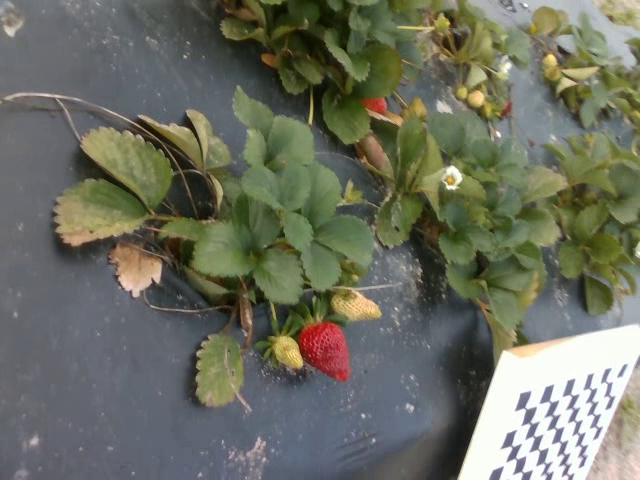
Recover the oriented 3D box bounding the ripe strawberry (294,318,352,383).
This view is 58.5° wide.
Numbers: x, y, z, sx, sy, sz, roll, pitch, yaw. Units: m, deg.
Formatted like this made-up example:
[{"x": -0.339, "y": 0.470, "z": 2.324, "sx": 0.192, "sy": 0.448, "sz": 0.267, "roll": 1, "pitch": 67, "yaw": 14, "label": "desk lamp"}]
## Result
[{"x": 0.007, "y": 0.095, "z": 0.452, "sx": 0.046, "sy": 0.046, "sz": 0.059, "roll": -5, "pitch": 44, "yaw": -35, "label": "ripe strawberry"}]
